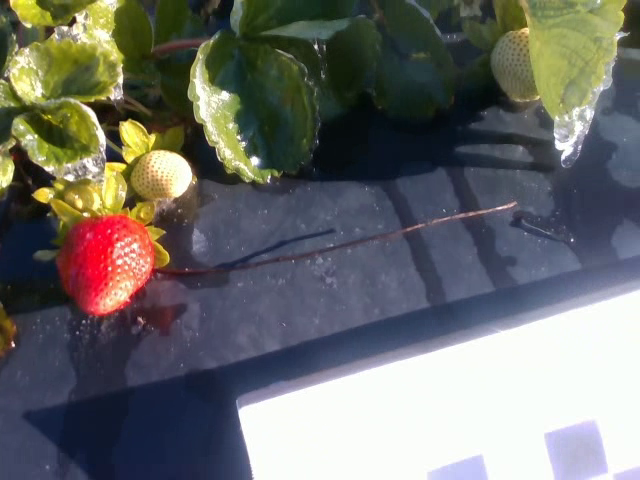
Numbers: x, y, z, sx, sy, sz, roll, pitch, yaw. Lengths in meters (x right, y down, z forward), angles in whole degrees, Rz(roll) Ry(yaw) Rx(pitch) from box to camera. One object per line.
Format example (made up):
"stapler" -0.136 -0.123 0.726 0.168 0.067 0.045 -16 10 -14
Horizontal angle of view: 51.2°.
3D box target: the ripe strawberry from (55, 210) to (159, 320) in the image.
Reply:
"ripe strawberry" -0.063 0.011 0.197 0.039 0.040 0.039 -25 27 2
